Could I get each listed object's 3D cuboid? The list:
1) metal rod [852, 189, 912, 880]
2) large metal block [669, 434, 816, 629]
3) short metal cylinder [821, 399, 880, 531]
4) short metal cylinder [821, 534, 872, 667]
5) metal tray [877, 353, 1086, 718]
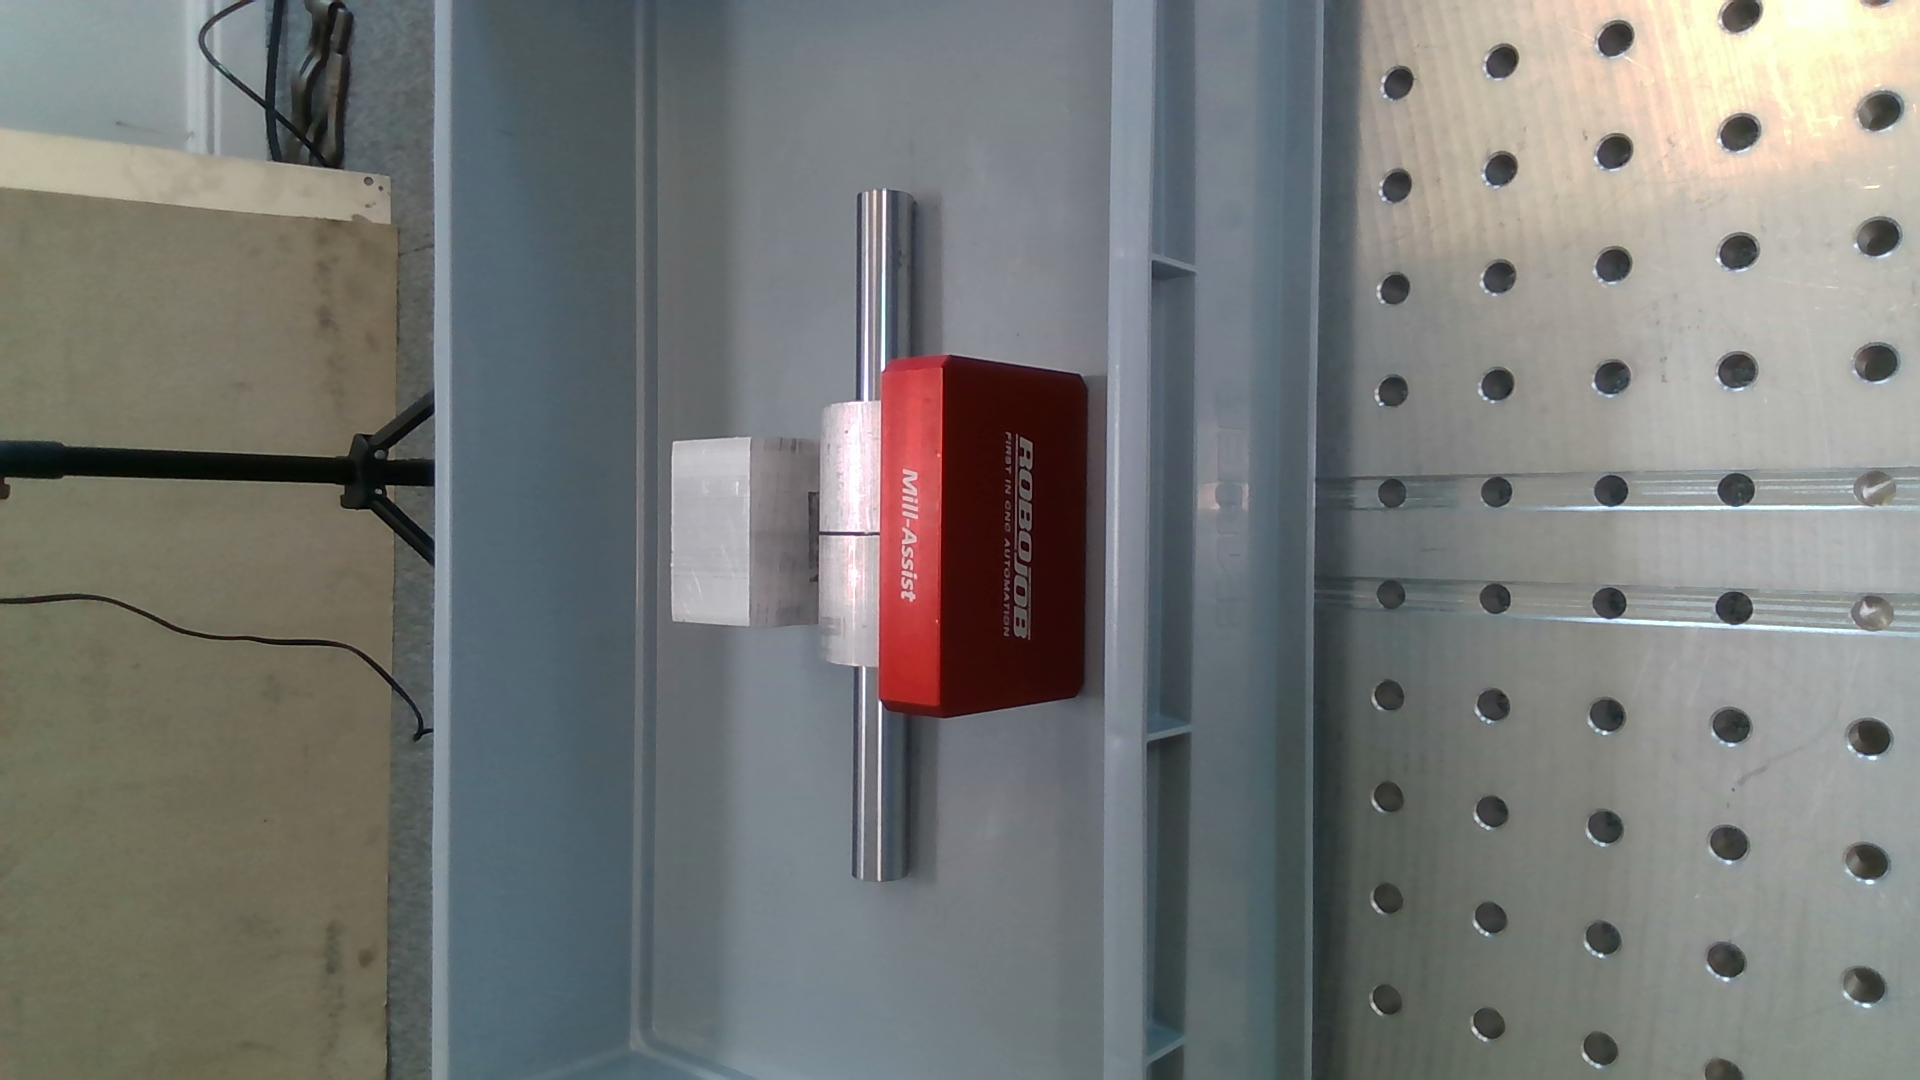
[{"bbox_3d":[-0.035,-0.002,0.610,0.025,0.025,0.300,1,91,40],"label":"metal rod"},{"bbox_3d":[-0.081,-0.004,0.613,0.050,0.080,0.080,1,91,40],"label":"large metal block"},{"bbox_3d":[-0.017,-0.029,0.560,0.080,0.080,0.050,1,91,40],"label":"short metal cylinder"},{"bbox_3d":[-0.017,0.023,0.561,0.080,0.080,0.050,2,92,40],"label":"short metal cylinder"},{"bbox_3d":[0.010,-0.002,0.530,0.030,0.090,0.130,2,92,40],"label":"metal tray"}]
